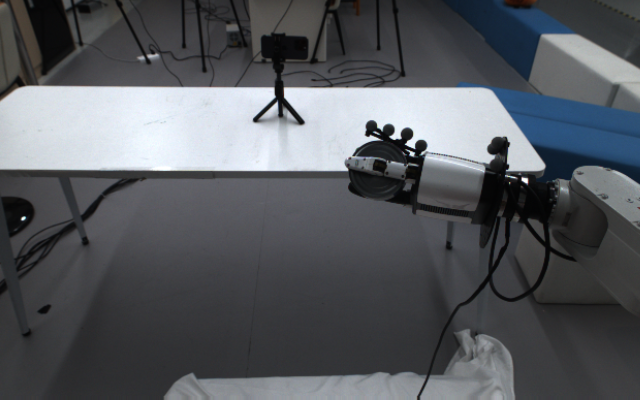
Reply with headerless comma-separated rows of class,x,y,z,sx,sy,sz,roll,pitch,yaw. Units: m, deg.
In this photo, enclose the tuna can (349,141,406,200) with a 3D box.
tuna can,0.088,-0.044,0.712,0.085,0.085,0.034,13,-6,16
